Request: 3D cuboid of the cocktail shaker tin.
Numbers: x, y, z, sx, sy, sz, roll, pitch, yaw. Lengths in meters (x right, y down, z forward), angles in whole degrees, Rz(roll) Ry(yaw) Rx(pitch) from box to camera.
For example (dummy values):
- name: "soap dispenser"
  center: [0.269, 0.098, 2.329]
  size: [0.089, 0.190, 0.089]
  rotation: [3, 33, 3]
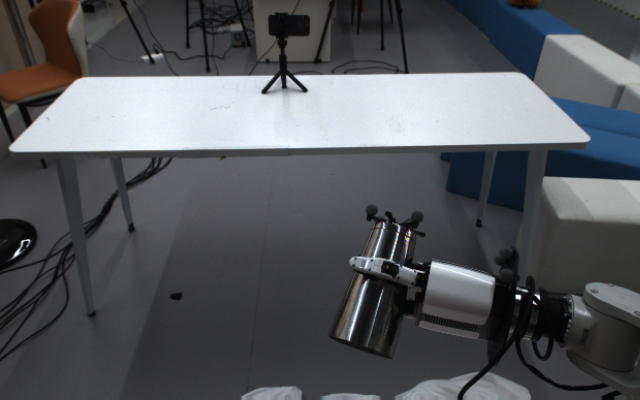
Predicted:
- name: "cocktail shaker tin"
  center: [0.078, 0.119, 0.666]
  size: [0.093, 0.093, 0.170]
  rotation: [14, 69, 17]
